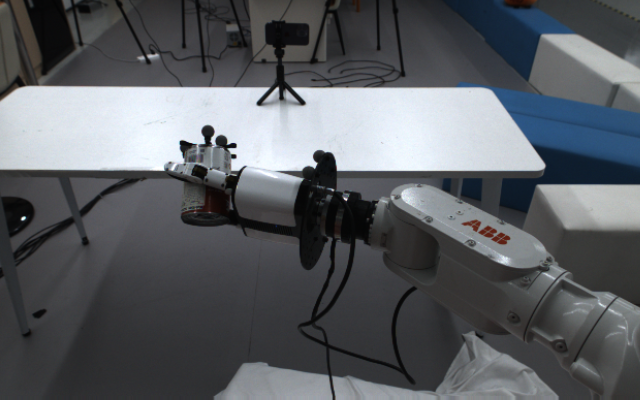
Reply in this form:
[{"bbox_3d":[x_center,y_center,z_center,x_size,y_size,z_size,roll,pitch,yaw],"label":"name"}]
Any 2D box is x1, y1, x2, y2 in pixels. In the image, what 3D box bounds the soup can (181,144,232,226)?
[{"bbox_3d":[-0.158,-0.019,0.681,0.067,0.067,0.101,-1,72,-5],"label":"soup can"}]
